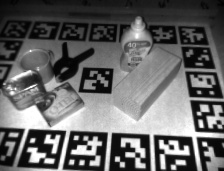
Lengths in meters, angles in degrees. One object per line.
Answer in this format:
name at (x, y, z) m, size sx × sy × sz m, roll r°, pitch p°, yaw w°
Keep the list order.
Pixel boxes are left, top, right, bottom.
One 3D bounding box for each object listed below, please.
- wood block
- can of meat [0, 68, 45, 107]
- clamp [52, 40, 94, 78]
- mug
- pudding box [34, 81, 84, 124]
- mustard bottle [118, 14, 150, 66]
wood block at (0.102, -0.020, 0.638) m, size 0.089 × 0.091 × 0.207 m, roll 33°, pitch 61°, yaw 23°
can of meat at (-0.249, 0.007, 0.615) m, size 0.102 × 0.084 × 0.057 m, roll -25°, pitch 60°, yaw -15°
clamp at (-0.147, -0.095, 0.722) m, size 0.121 × 0.037 × 0.165 m, roll 19°, pitch 61°, yaw 11°
mug at (-0.231, -0.067, 0.698) m, size 0.092 × 0.082 × 0.117 m, roll 21°, pitch 61°, yaw 14°
pudding box at (-0.151, 0.042, 0.625) m, size 0.114 × 0.039 × 0.089 m, roll -32°, pitch 63°, yaw -21°
mustard bottle at (0.064, -0.138, 0.649) m, size 0.096 × 0.192 × 0.058 m, roll -4°, pitch 57°, yaw 0°
